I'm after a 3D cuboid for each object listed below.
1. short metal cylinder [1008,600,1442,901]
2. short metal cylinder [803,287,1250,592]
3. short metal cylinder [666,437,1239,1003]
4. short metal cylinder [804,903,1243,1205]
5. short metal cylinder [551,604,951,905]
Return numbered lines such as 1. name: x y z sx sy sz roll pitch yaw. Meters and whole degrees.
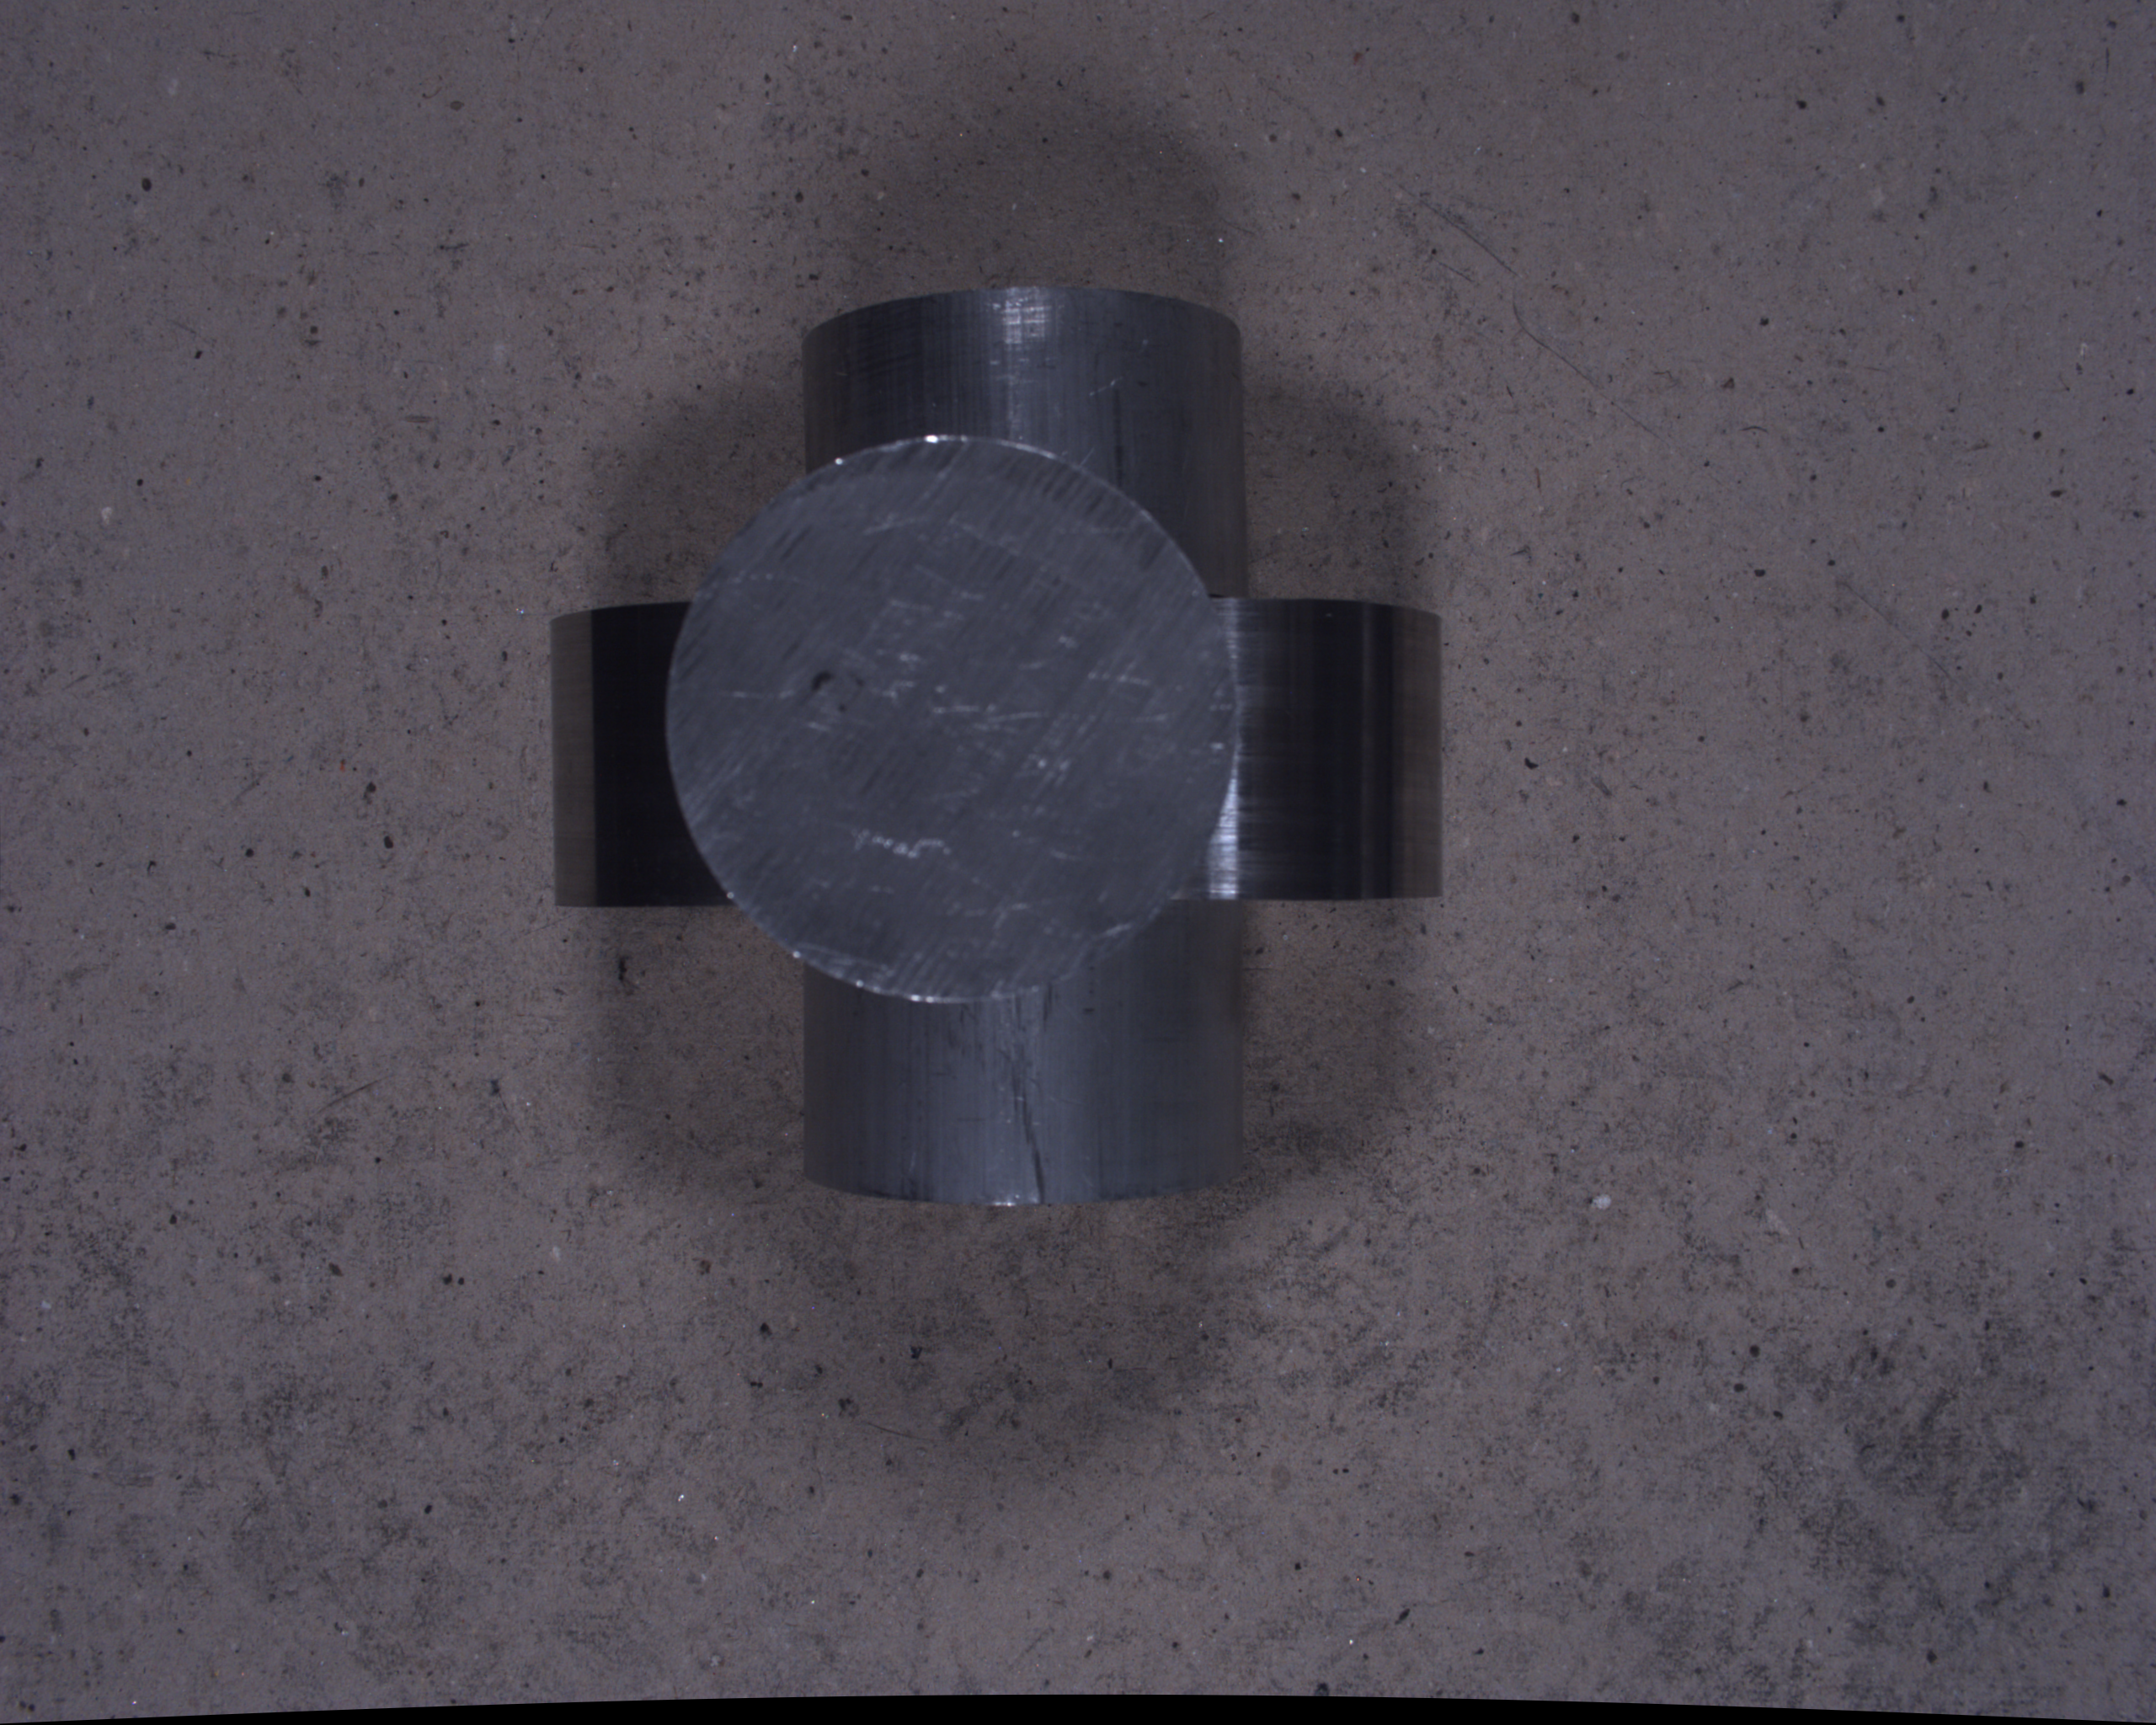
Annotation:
1. short metal cylinder: 0.026 -0.019 0.384 0.081 0.080 0.050 0 90 -1
2. short metal cylinder: -0.009 -0.070 0.383 0.081 0.080 0.050 -2 90 -1
3. short metal cylinder: -0.018 -0.020 0.318 0.081 0.050 0.079 0 90 -1
4. short metal cylinder: -0.010 0.031 0.383 0.081 0.080 0.050 0 90 -1
5. short metal cylinder: -0.055 -0.018 0.383 0.081 0.080 0.050 -1 90 -1
